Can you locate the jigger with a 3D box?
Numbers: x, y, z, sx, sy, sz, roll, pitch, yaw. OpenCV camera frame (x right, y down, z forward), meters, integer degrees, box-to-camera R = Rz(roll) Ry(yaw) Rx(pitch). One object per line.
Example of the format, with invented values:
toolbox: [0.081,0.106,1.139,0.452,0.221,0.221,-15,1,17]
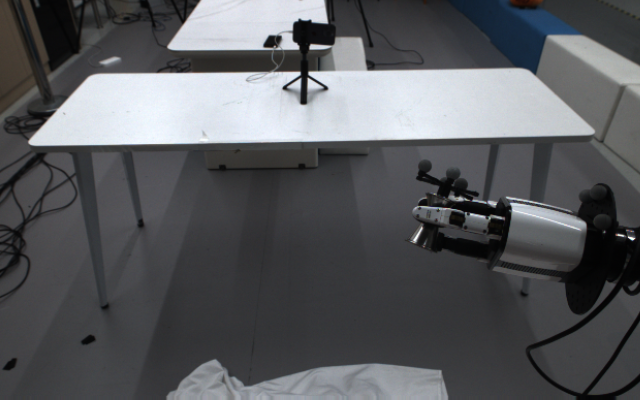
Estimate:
jigger: [0.140,0.027,0.617,0.043,0.071,0.043,24,-3,1]
